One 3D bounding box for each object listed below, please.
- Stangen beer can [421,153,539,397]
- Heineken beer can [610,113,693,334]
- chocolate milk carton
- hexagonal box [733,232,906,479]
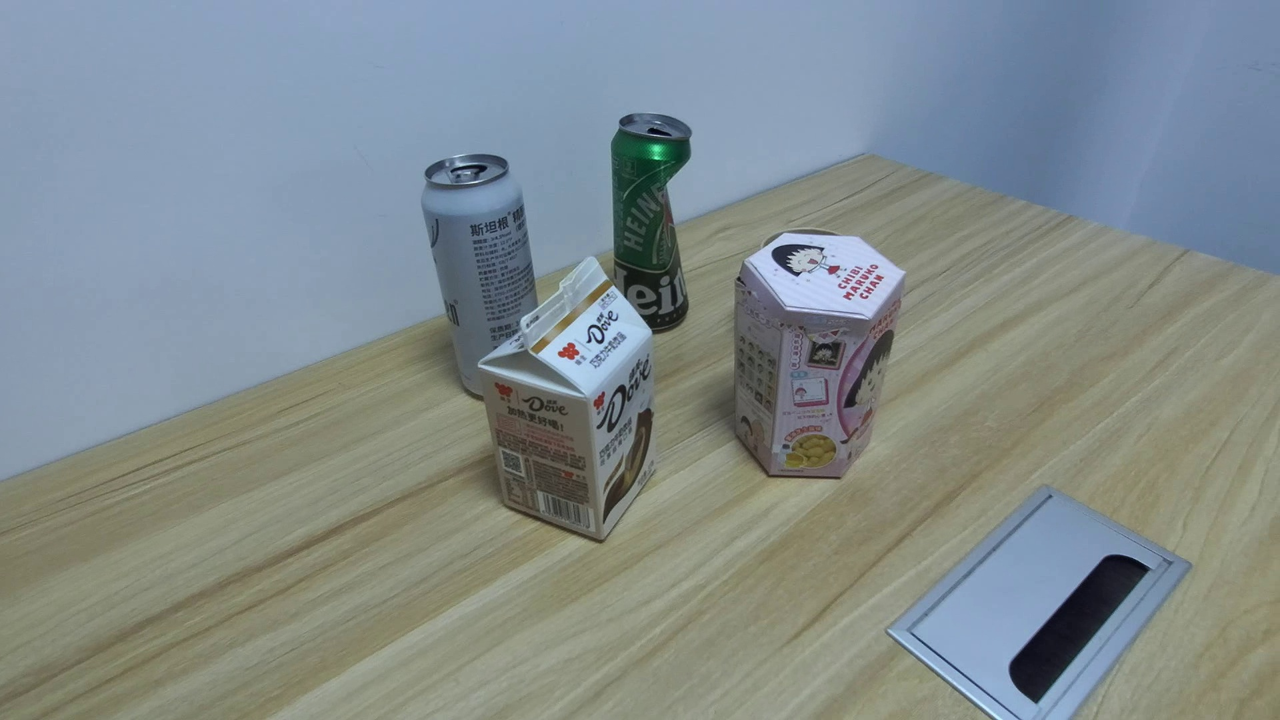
[{"bbox_3d":[-0.107,-0.054,0.503,0.067,0.171,0.067,-3,32,2],"label":"Stangen beer can"},{"bbox_3d":[0.011,-0.105,0.567,0.068,0.168,0.069,-24,42,-33],"label":"Heineken beer can"},{"bbox_3d":[-0.039,0.019,0.412,0.074,0.148,0.075,15,37,23],"label":"chocolate milk carton"},{"bbox_3d":[0.107,-0.001,0.442,0.084,0.135,0.092,24,43,31],"label":"hexagonal box"}]
